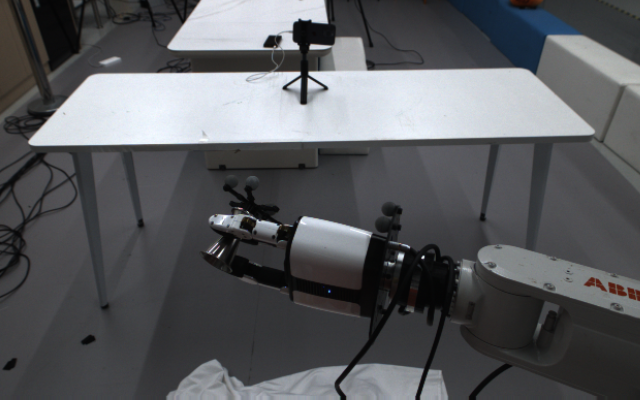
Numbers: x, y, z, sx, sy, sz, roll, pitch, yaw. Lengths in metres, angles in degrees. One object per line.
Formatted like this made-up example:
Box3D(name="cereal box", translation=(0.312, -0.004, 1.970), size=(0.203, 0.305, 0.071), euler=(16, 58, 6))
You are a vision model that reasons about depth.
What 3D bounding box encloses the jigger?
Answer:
Box3D(name="jigger", translation=(-0.107, 0.044, 0.581), size=(0.043, 0.043, 0.071), euler=(19, 62, 23))
